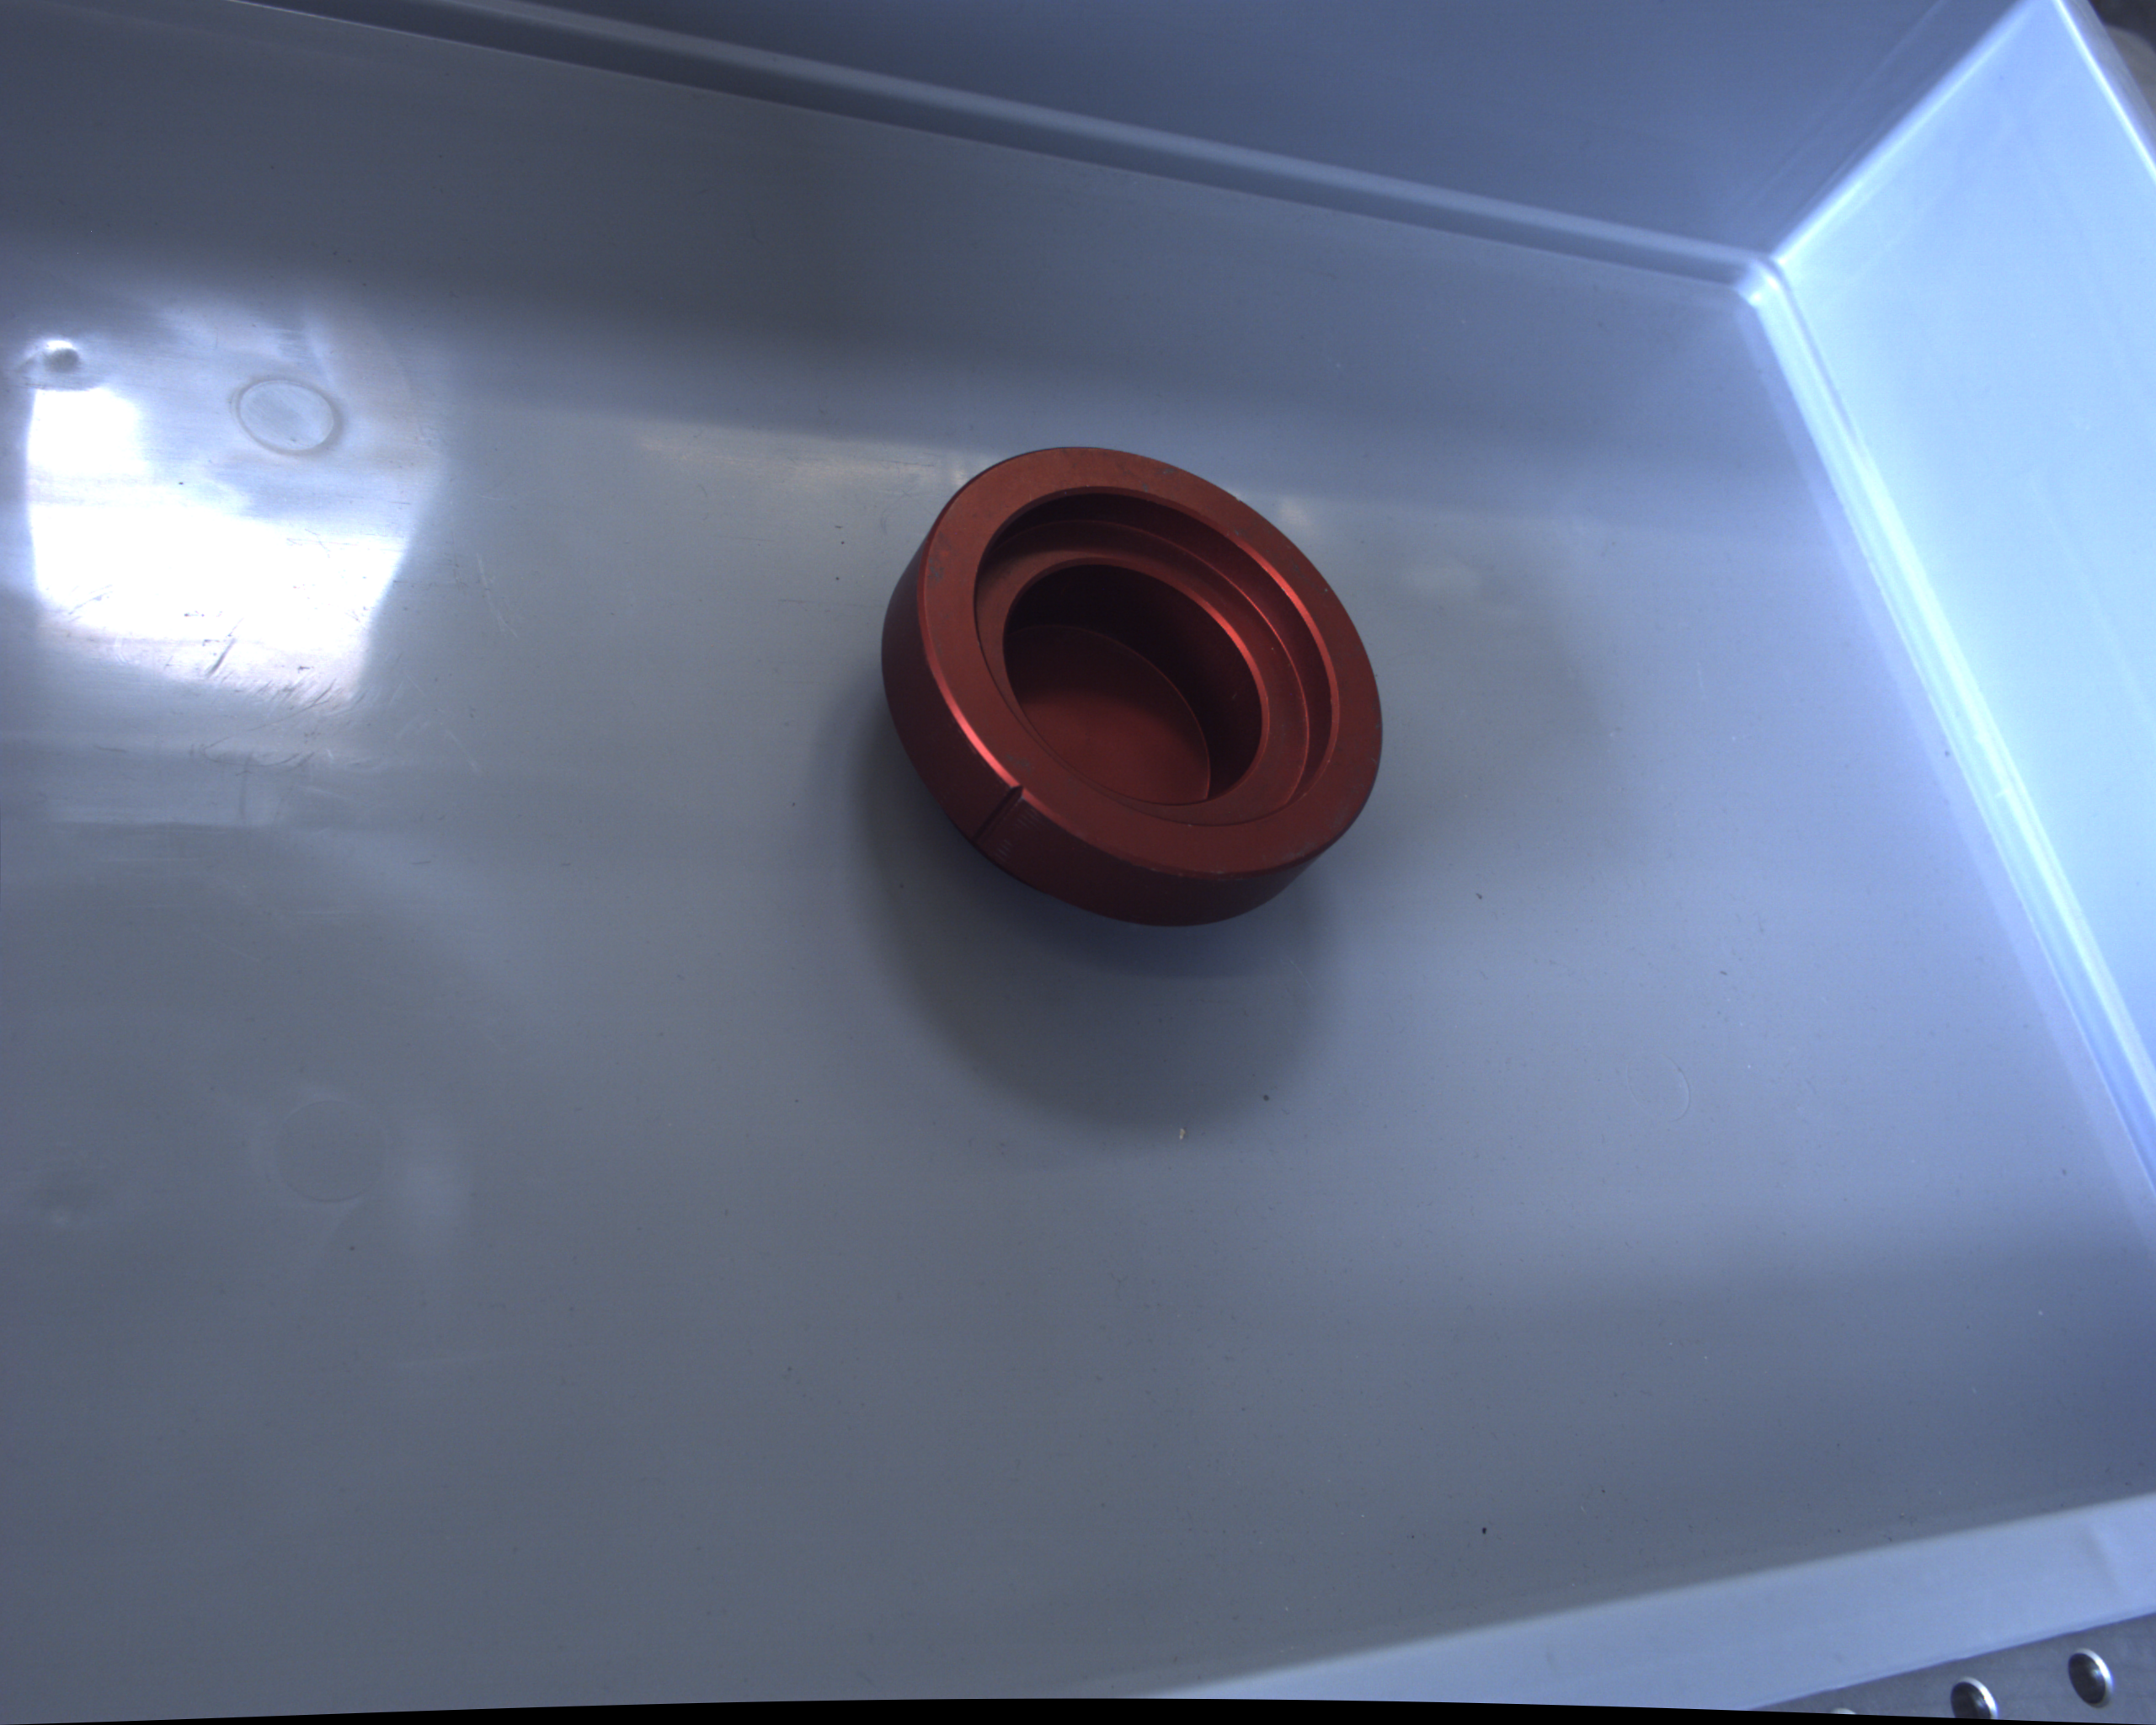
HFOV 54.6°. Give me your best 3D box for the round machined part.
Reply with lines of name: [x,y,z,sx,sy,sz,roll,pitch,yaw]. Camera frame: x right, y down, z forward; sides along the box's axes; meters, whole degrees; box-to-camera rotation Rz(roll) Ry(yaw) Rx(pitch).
round machined part: [0.008,-0.031,0.413,0.099,0.042,0.098,13,56,-21]
